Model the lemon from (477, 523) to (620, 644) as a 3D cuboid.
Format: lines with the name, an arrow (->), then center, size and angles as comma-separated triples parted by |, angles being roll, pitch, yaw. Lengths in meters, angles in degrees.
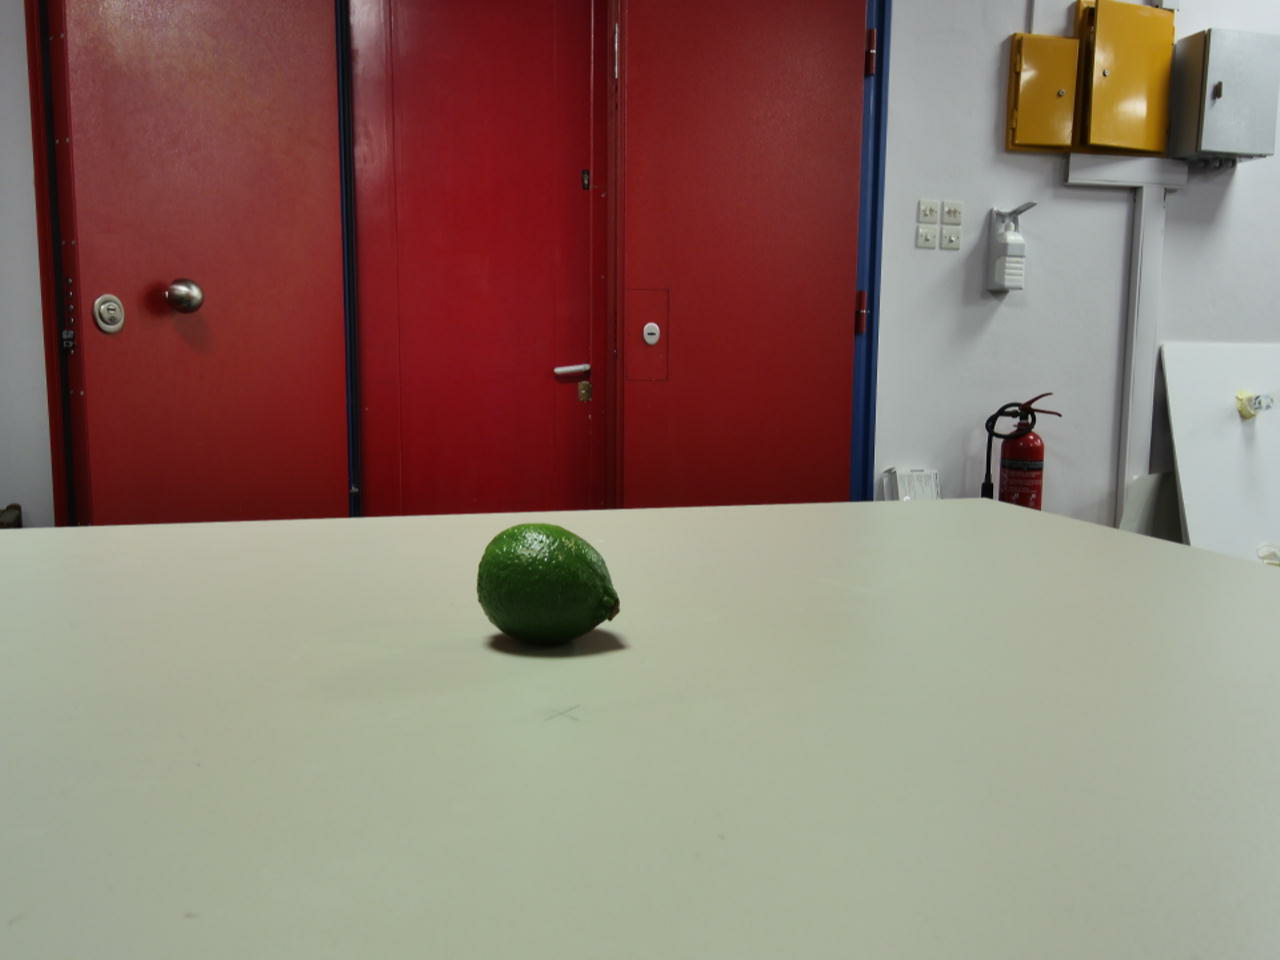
lemon -> -0.041, 0.044, 0.429 | 0.057, 0.051, 0.054 | -2, 4, -17
